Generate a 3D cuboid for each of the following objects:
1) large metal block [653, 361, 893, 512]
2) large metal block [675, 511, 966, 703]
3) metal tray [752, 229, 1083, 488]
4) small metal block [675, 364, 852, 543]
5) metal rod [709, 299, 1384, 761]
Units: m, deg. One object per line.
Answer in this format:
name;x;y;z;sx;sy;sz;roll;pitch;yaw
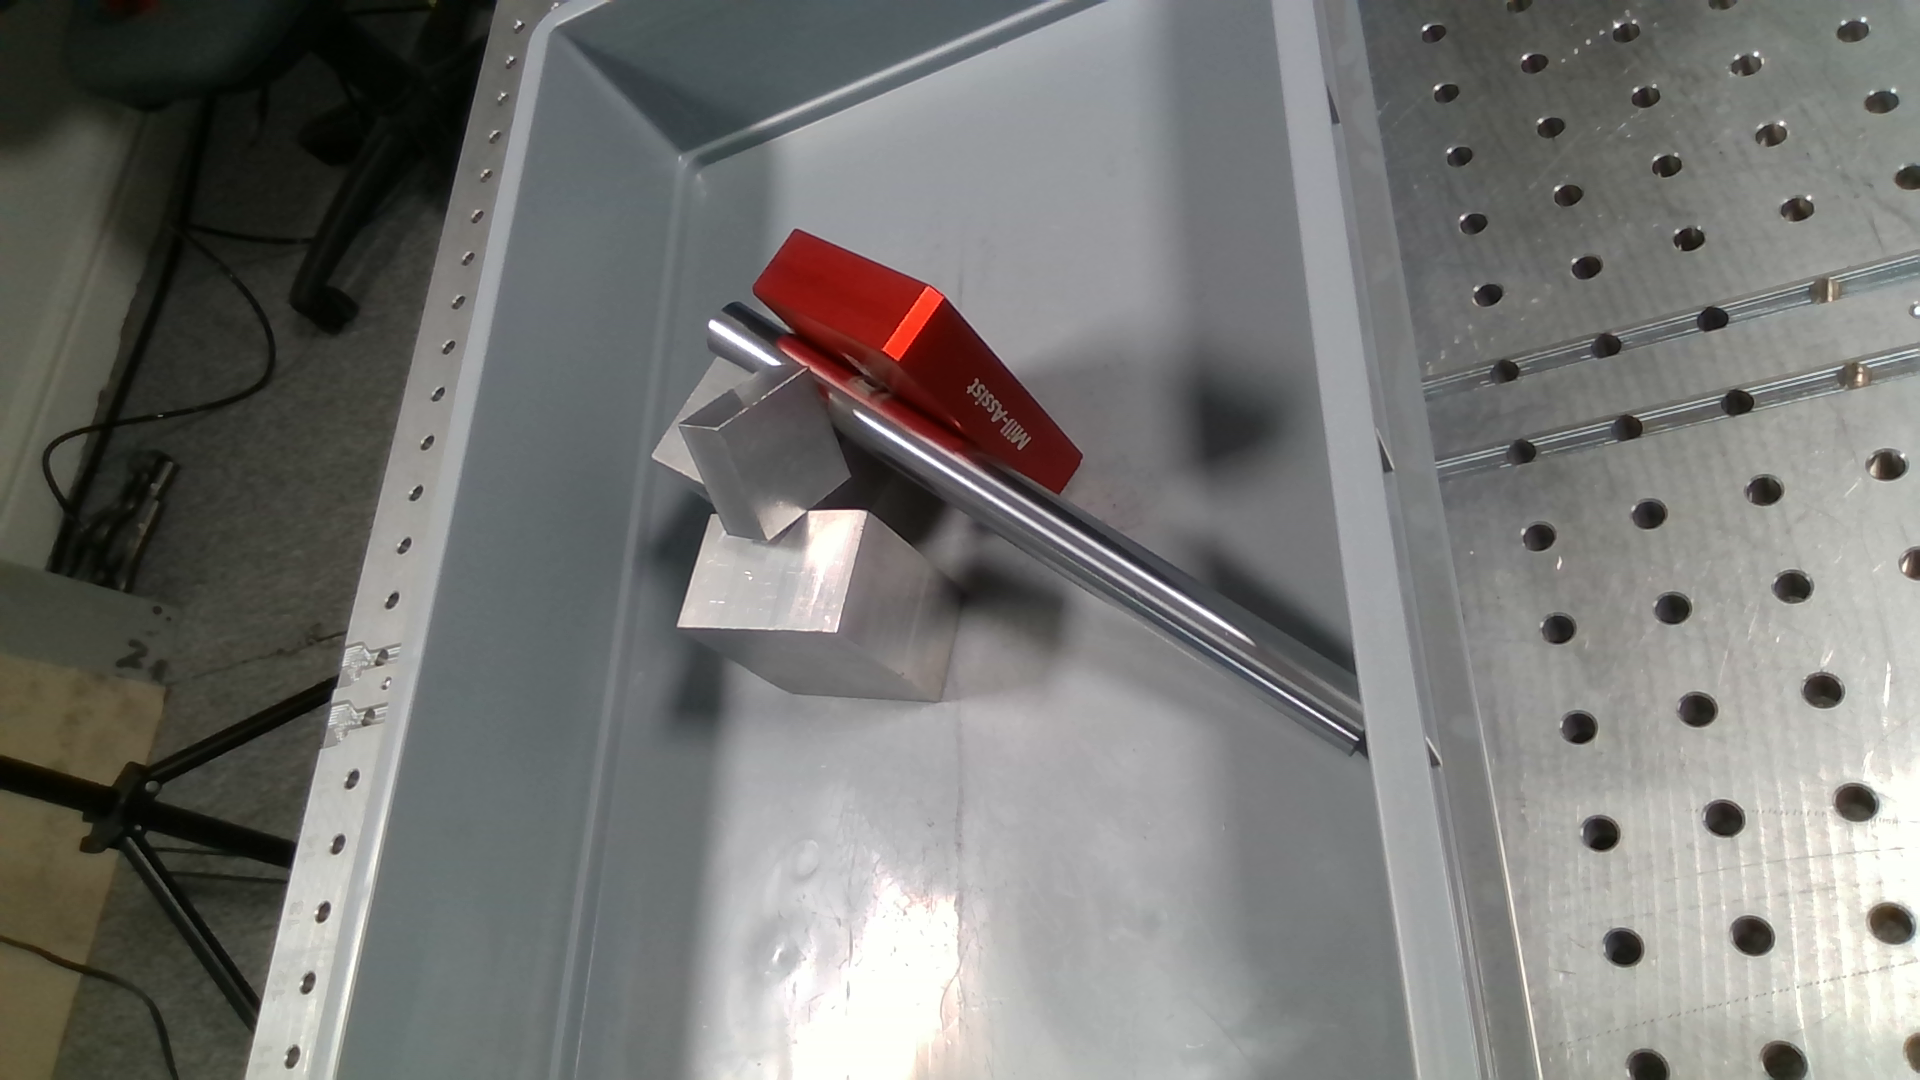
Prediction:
large metal block;-0.076;-0.043;0.620;0.050;0.080;0.080;26;81;38
large metal block;-0.056;0.029;0.569;0.080;0.080;0.050;-1;65;31
metal tray;-0.015;-0.066;0.560;0.090;0.130;0.030;30;82;40
small metal block;-0.076;-0.035;0.537;0.025;0.050;0.050;9;39;43
metal rod;0.020;-0.013;0.520;0.300;0.025;0.025;33;85;22
